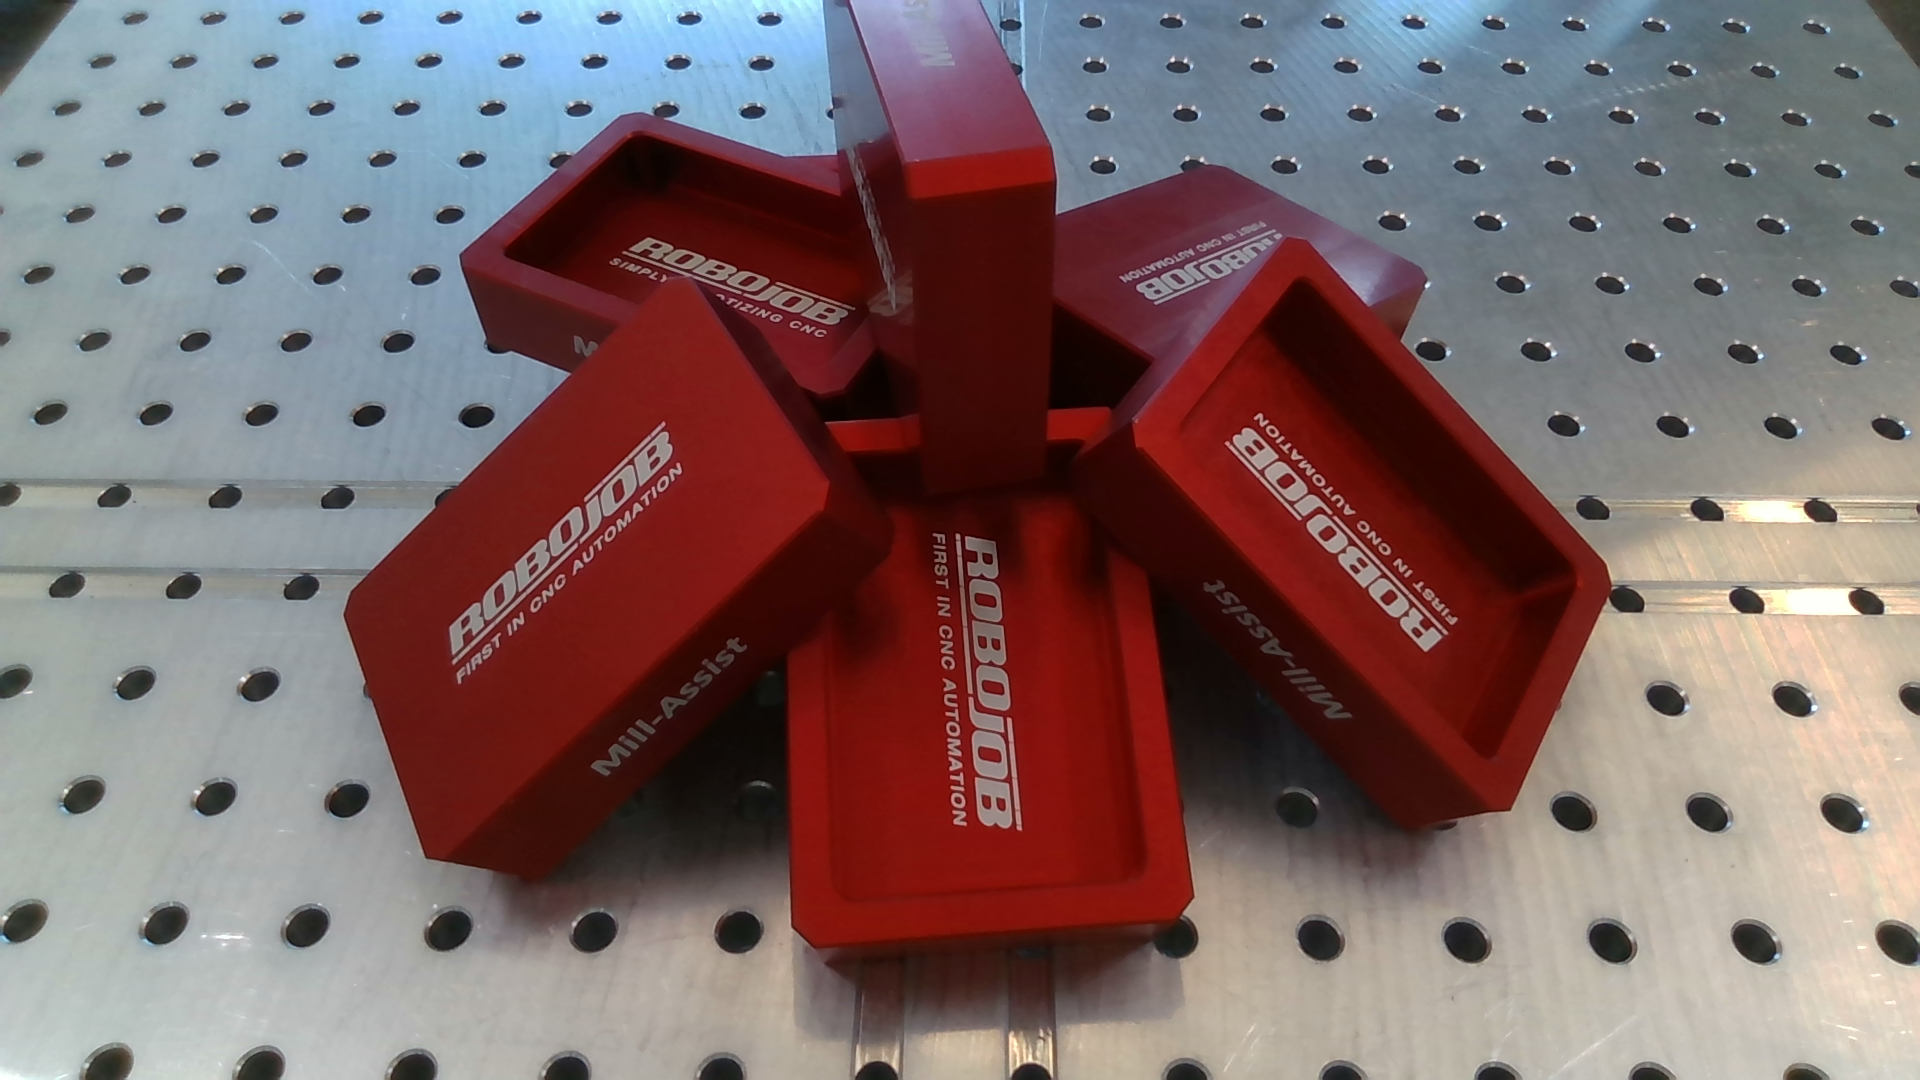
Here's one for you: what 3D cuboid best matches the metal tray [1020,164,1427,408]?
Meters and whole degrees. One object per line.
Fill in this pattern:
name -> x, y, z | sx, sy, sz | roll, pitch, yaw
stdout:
metal tray -> 0.076, -0.076, 0.435 | 0.090, 0.030, 0.130 | 37, 44, 27

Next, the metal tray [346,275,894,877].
metal tray -> -0.089, 0.008, 0.343 | 0.130, 0.030, 0.090 | -42, 55, 9

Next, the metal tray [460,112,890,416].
metal tray -> -0.071, -0.080, 0.421 | 0.130, 0.030, 0.090 | 21, 53, 17

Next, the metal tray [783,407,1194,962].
metal tray -> 0.003, 0.033, 0.342 | 0.090, 0.030, 0.130 | -4, 67, -3

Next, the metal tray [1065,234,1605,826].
metal tray -> 0.099, -0.003, 0.352 | 0.130, 0.030, 0.090 | 45, 57, -7

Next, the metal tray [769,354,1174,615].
metal tray -> -0.002, -0.020, 0.410 | 0.130, 0.030, 0.090 | -2, 52, -5

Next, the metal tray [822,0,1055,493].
metal tray -> -0.009, -0.087, 0.342 | 0.030, 0.090, 0.130 | -9, 46, -8

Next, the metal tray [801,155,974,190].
metal tray -> -0.055, -0.093, 0.471 | 0.130, 0.030, 0.090 | -3, 51, -3
